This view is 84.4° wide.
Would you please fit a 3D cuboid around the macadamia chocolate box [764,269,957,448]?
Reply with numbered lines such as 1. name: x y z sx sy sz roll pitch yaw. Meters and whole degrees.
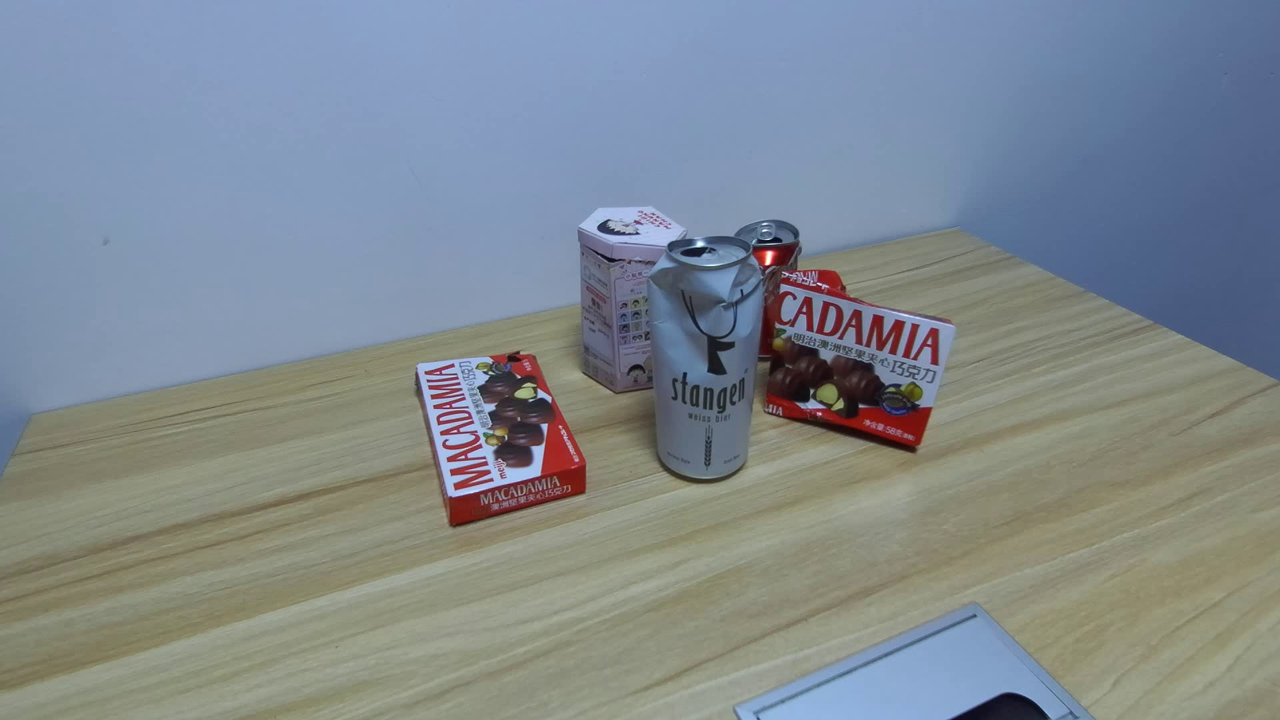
1. macadamia chocolate box: 0.162 -0.003 0.530 0.126 0.112 0.056 16 34 23

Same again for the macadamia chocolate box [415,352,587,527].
1. macadamia chocolate box: -0.112 0.045 0.548 0.103 0.027 0.186 -12 34 -19

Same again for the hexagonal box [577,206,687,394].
1. hexagonal box: -0.008 -0.050 0.583 0.085 0.135 0.091 -25 40 -34

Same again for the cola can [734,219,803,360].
1. cola can: 0.113 -0.064 0.625 0.069 0.113 0.065 -29 42 -29

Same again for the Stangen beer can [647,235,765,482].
1. Stangen beer can: 0.044 0.001 0.477 0.065 0.166 0.066 20 37 30
